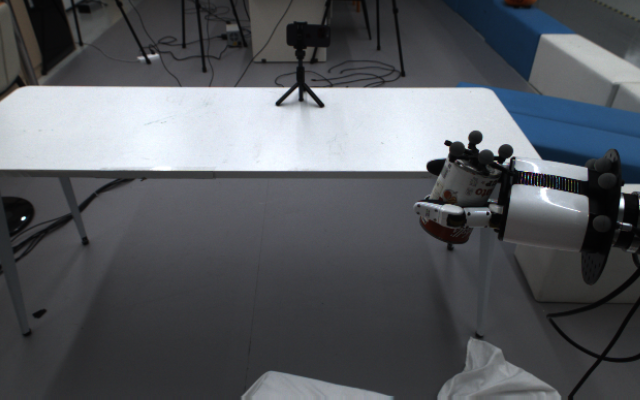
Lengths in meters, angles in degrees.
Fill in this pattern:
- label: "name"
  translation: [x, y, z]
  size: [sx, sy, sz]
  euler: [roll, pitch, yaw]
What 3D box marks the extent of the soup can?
- label: "soup can"
  translation: [0.176, -0.005, 0.606]
  size: [0.067, 0.101, 0.067]
  euler: [13, 30, -7]
